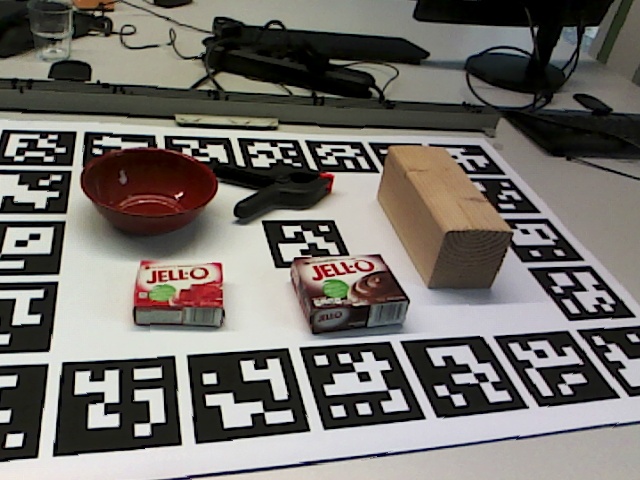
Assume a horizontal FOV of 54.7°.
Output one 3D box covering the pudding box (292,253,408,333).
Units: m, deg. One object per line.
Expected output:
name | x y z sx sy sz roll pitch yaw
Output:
pudding box | 0.031 0.058 0.704 0.113 0.038 0.090 -3 42 -16

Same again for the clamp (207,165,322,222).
clamp | -0.072 -0.072 0.867 0.164 0.036 0.122 -6 39 -26

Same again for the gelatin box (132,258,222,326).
gelatin box | -0.151 0.055 0.662 0.089 0.030 0.073 4 38 -10

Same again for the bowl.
bowl | -0.214 -0.053 0.783 0.161 0.055 0.162 8 38 -7

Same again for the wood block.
wood block | 0.159 -0.035 0.822 0.089 0.091 0.207 2 37 -15
